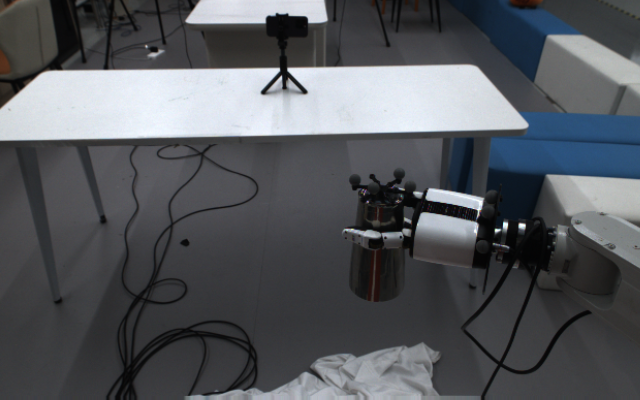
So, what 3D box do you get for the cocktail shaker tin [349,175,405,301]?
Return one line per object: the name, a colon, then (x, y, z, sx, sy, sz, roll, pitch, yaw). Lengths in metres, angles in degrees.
cocktail shaker tin: (0.095, 0.060, 0.754, 0.093, 0.170, 0.093, -1, 32, 1)
